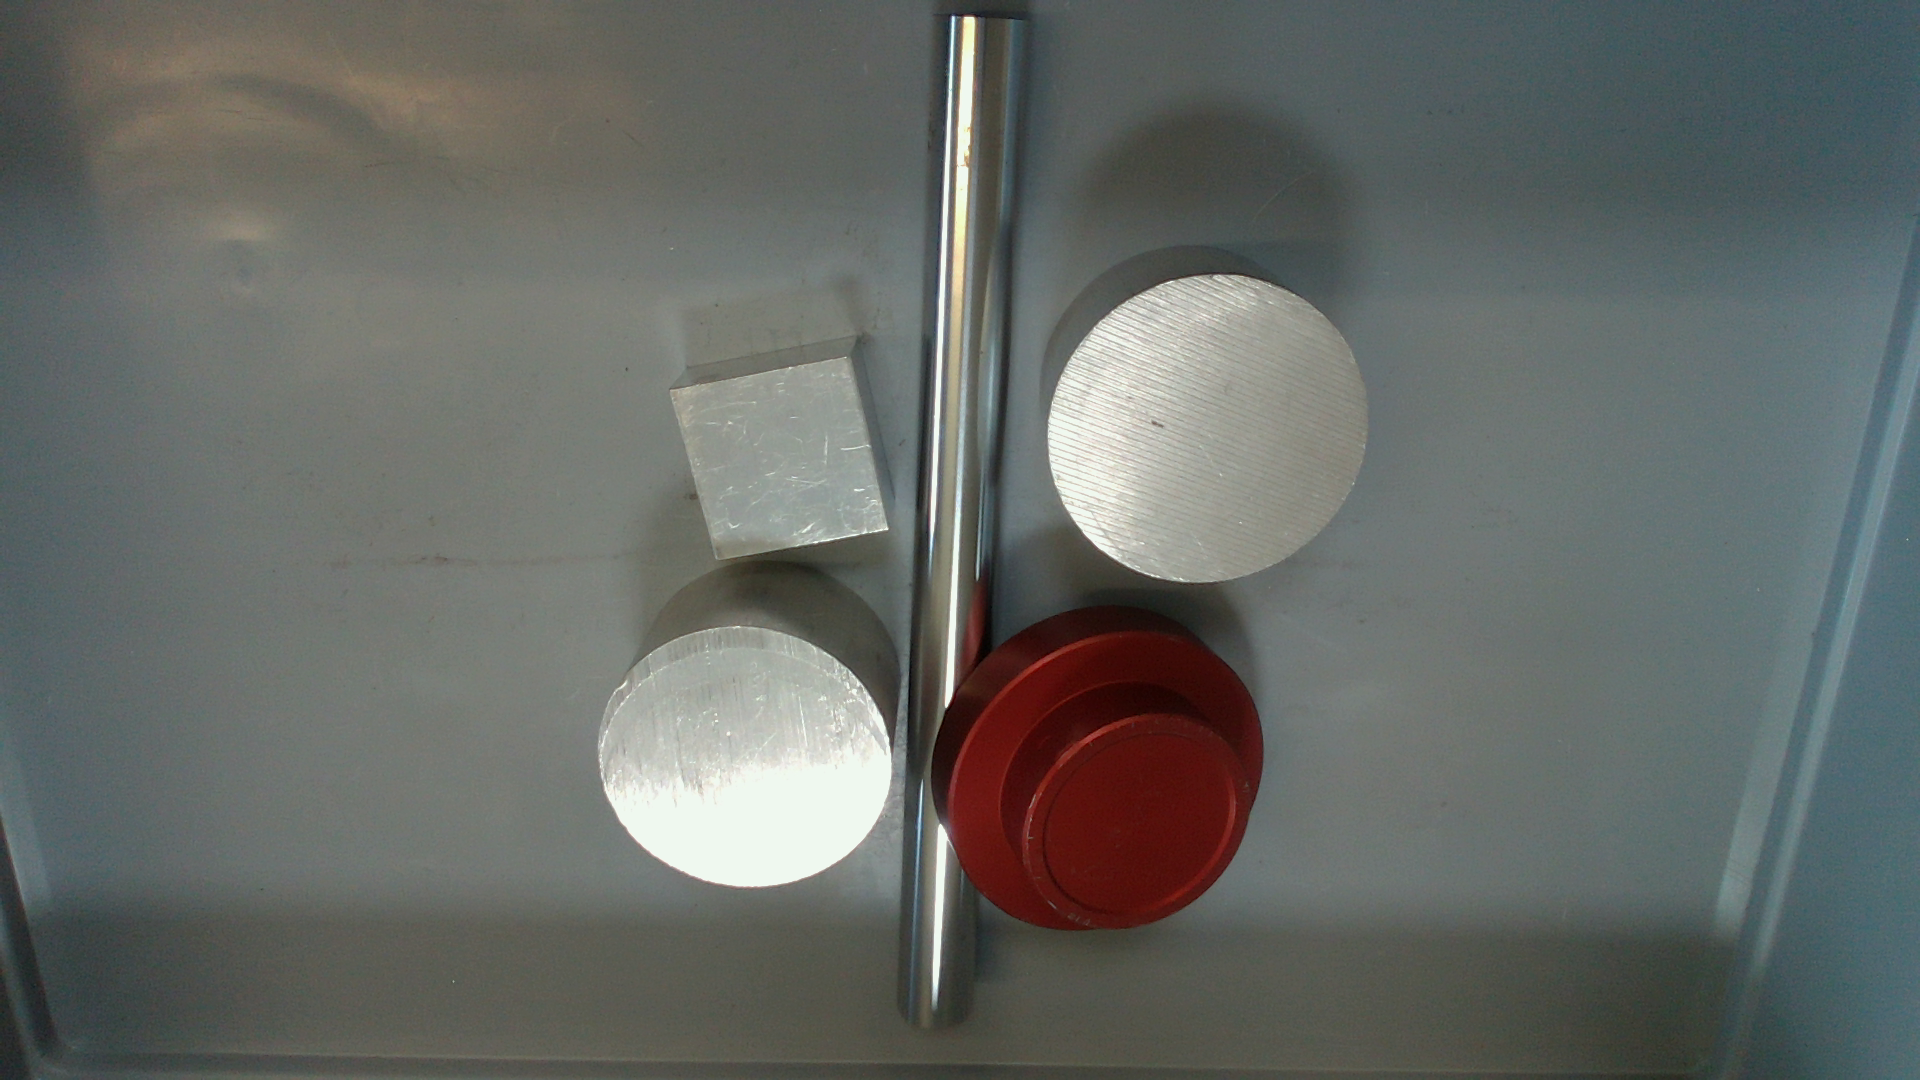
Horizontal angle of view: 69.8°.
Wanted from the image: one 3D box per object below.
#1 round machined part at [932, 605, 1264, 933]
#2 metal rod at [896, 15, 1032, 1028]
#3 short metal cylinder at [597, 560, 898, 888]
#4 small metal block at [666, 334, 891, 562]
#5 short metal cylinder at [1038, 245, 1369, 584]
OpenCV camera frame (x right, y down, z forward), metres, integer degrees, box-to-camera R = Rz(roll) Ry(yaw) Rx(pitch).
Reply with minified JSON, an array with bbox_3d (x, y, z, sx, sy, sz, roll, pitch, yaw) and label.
[{"bbox_3d":[0.044,0.072,0.397,0.098,0.042,0.098,-6,110,-15],"label":"round machined part"},{"bbox_3d":[-0.001,0.010,0.396,0.025,0.025,0.300,2,110,-1],"label":"metal rod"},{"bbox_3d":[-0.058,0.052,0.398,0.080,0.050,0.080,0,110,0],"label":"short metal cylinder"},{"bbox_3d":[-0.048,-0.026,0.382,0.050,0.025,0.050,-11,110,4],"label":"small metal block"},{"bbox_3d":[0.062,-0.035,0.366,0.080,0.050,0.080,0,110,0],"label":"short metal cylinder"}]
